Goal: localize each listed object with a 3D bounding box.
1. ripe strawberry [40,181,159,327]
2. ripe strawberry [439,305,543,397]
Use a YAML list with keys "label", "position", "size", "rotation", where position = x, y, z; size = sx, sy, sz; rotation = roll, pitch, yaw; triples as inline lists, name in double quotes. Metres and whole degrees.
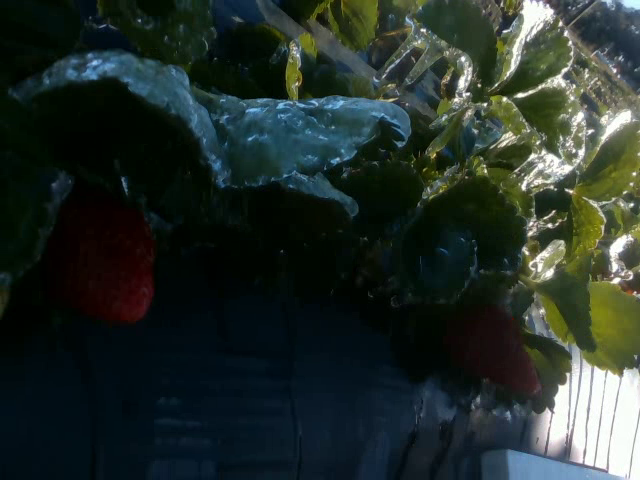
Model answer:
- label: "ripe strawberry"
  position: [-0.059, 0.007, 0.152]
  size: [0.037, 0.040, 0.051]
  rotation: [8, 20, -42]
- label: "ripe strawberry"
  position: [0.086, 0.056, 0.276]
  size: [0.041, 0.047, 0.053]
  rotation: [18, 23, -40]
